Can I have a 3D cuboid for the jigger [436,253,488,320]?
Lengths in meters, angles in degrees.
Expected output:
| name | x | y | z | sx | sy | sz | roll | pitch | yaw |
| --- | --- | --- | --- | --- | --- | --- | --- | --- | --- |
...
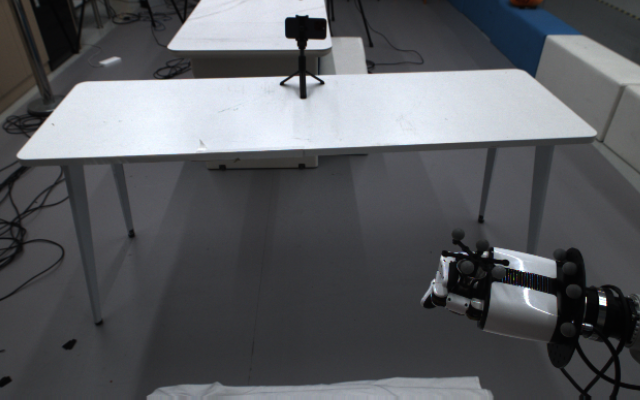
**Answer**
| name | x | y | z | sx | sy | sz | roll | pitch | yaw |
| --- | --- | --- | --- | --- | --- | --- | --- | --- | --- |
| jigger | 0.201 | 0.119 | 0.670 | 0.043 | 0.071 | 0.043 | 7 | 32 | -4 |
